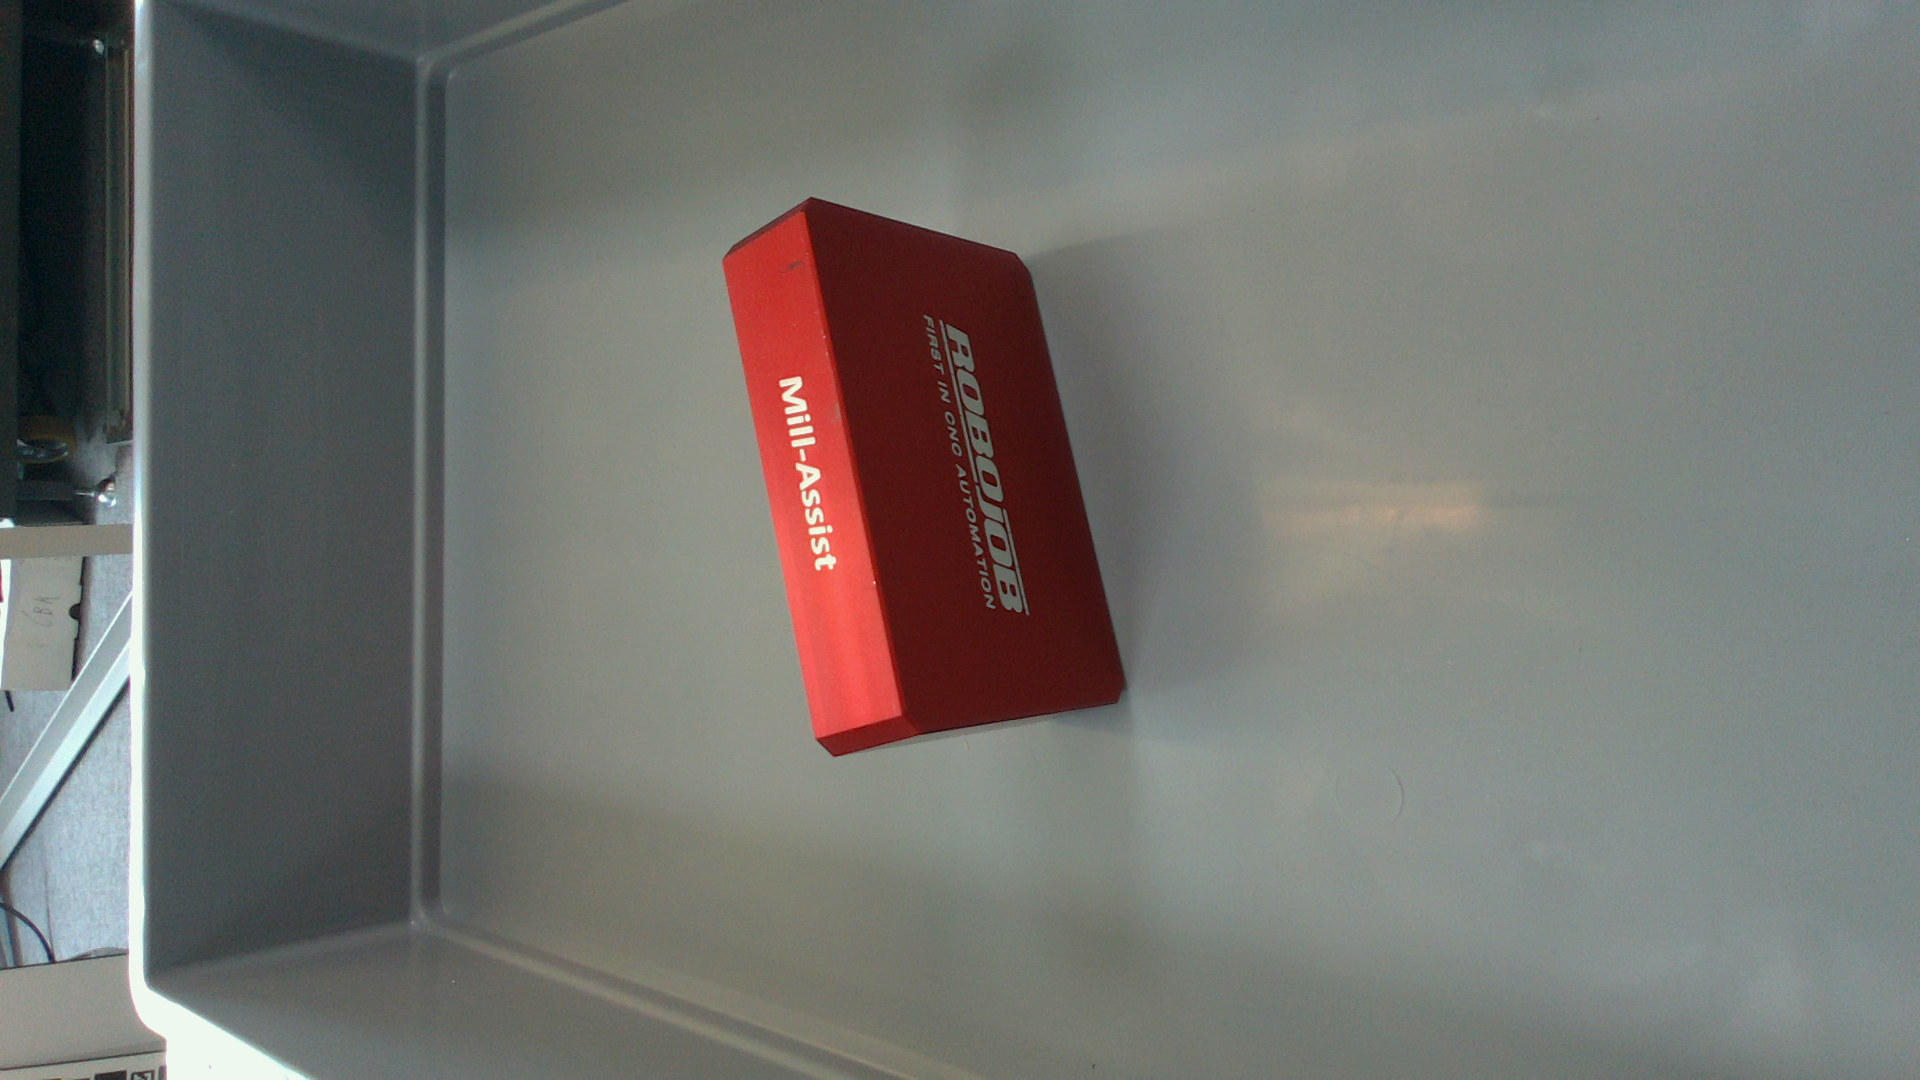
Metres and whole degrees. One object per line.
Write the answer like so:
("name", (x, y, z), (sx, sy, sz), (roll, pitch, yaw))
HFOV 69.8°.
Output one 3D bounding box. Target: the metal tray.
("metal tray", (-0.007, -0.015, 0.355), (0.030, 0.090, 0.130), (-20, 78, 37))
